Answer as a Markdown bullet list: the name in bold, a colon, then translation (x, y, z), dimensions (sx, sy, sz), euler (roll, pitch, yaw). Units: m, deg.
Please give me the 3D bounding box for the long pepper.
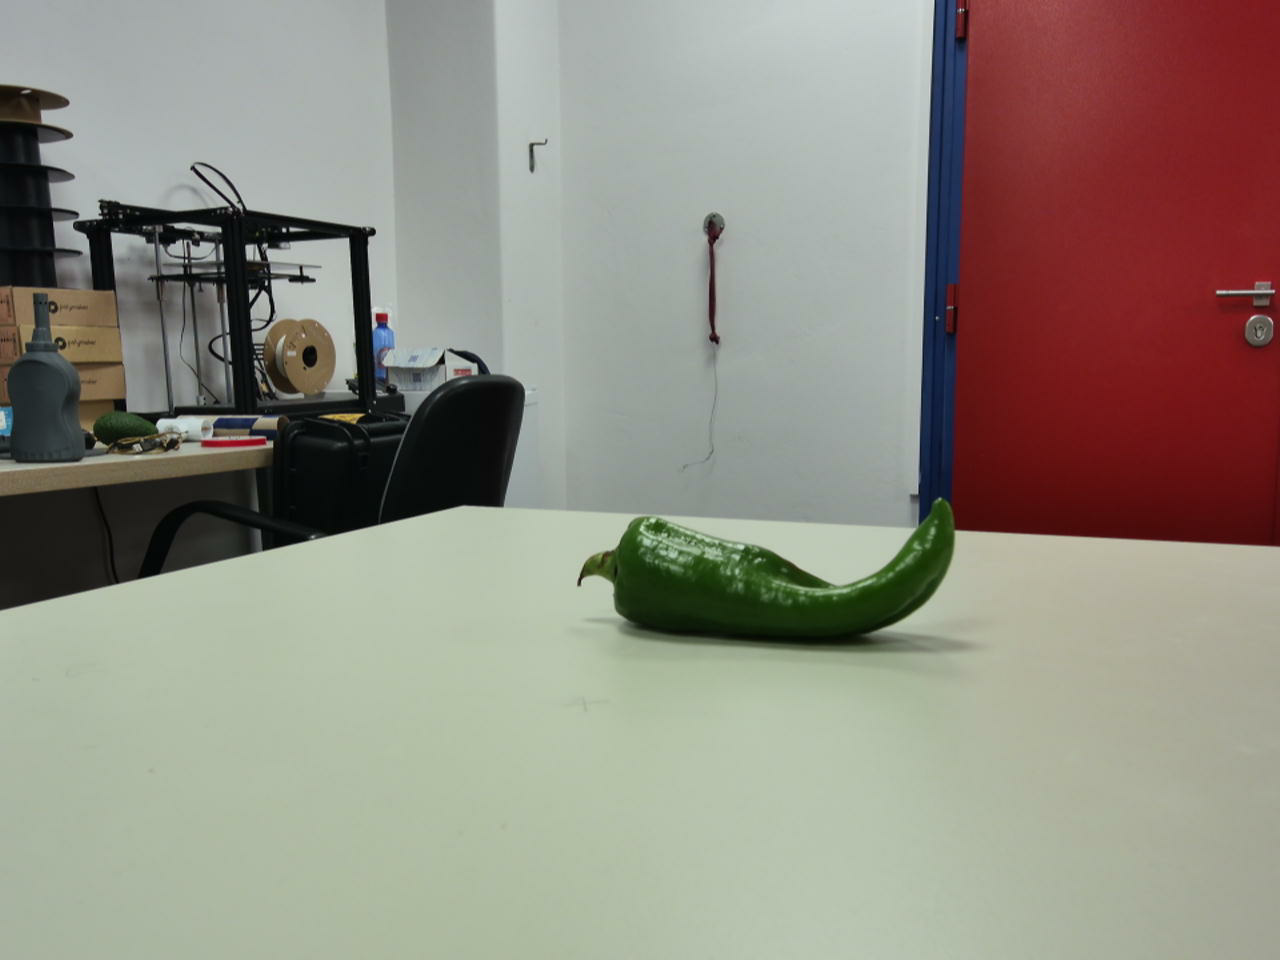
- **long pepper**: translation (0.053, 0.039, 0.462), dimensions (0.175, 0.065, 0.058), euler (2, 4, 23)
